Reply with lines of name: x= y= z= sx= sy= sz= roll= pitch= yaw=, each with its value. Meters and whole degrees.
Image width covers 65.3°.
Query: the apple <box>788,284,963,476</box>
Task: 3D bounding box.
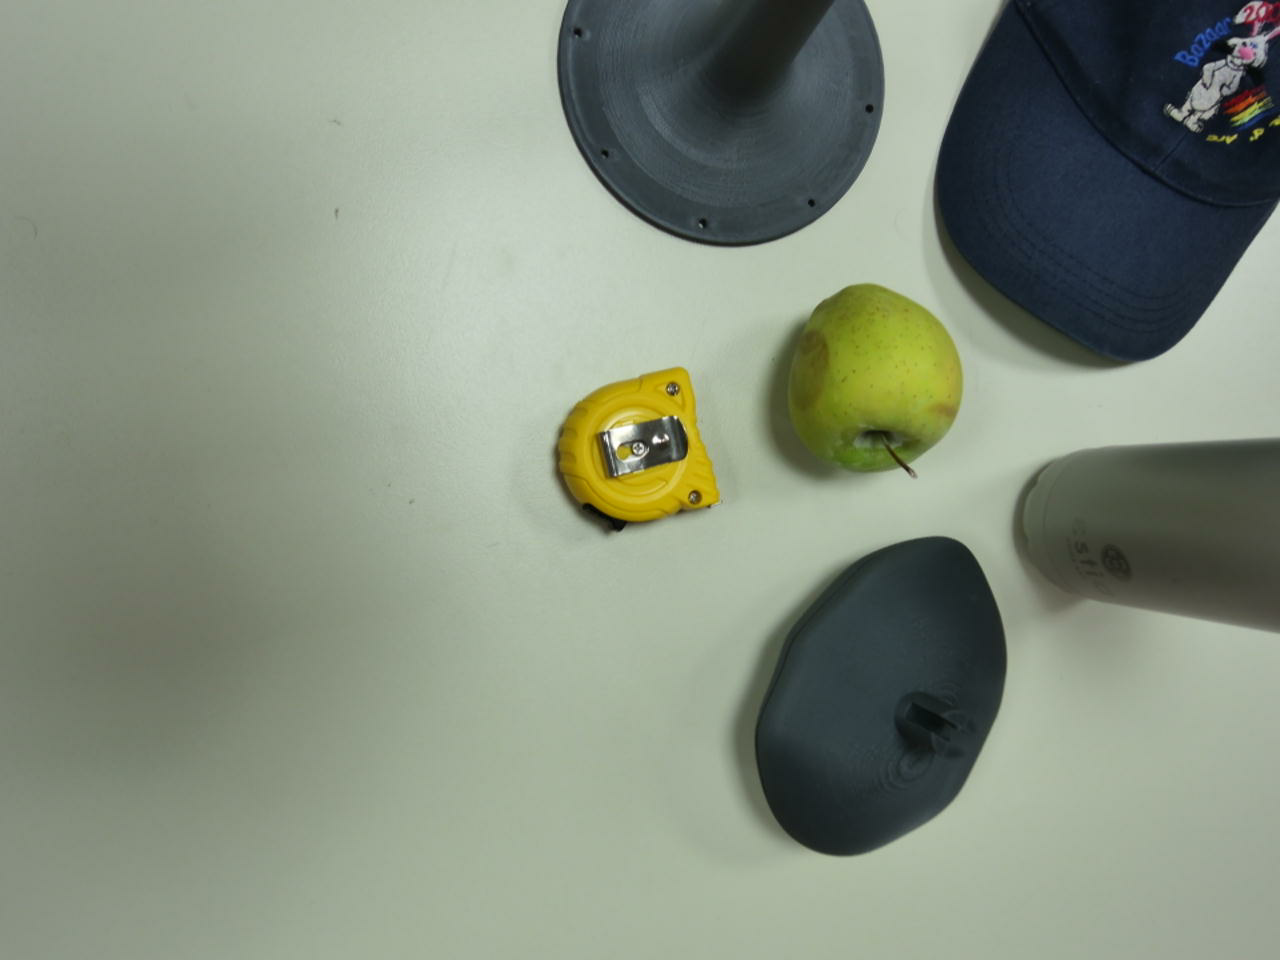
apple: x=0.098 y=-0.041 z=0.419 sx=0.072 sy=0.075 sz=0.077 roll=35 pitch=84 yaw=-10
